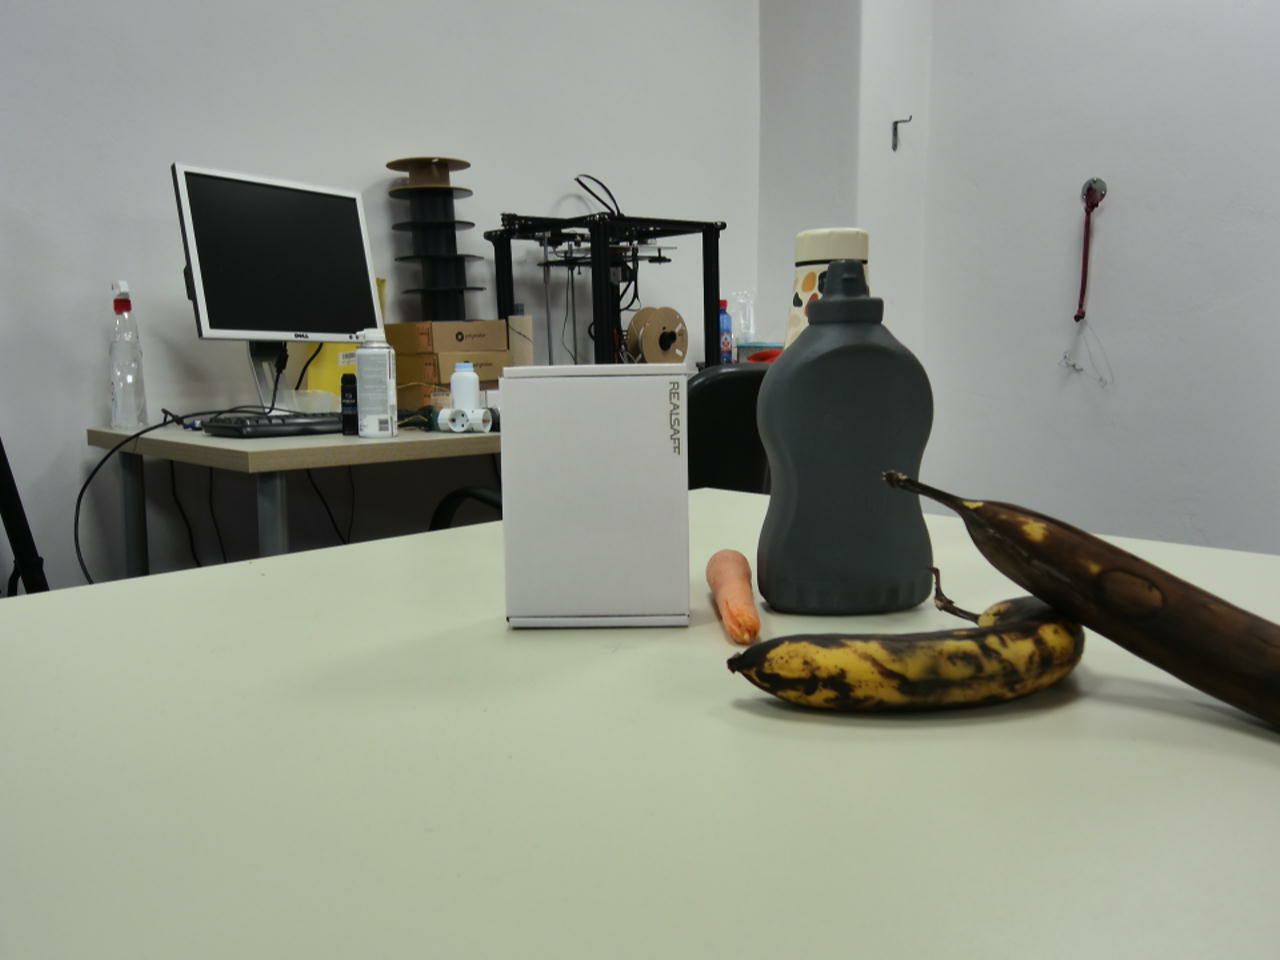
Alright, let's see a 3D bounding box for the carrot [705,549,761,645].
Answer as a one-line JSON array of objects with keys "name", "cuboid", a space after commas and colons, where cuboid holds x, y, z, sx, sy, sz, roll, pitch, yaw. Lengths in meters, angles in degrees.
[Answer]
[{"name": "carrot", "cuboid": [0.054, 0.064, 0.582, 0.030, 0.032, 0.136, 1, 6, 2]}]
